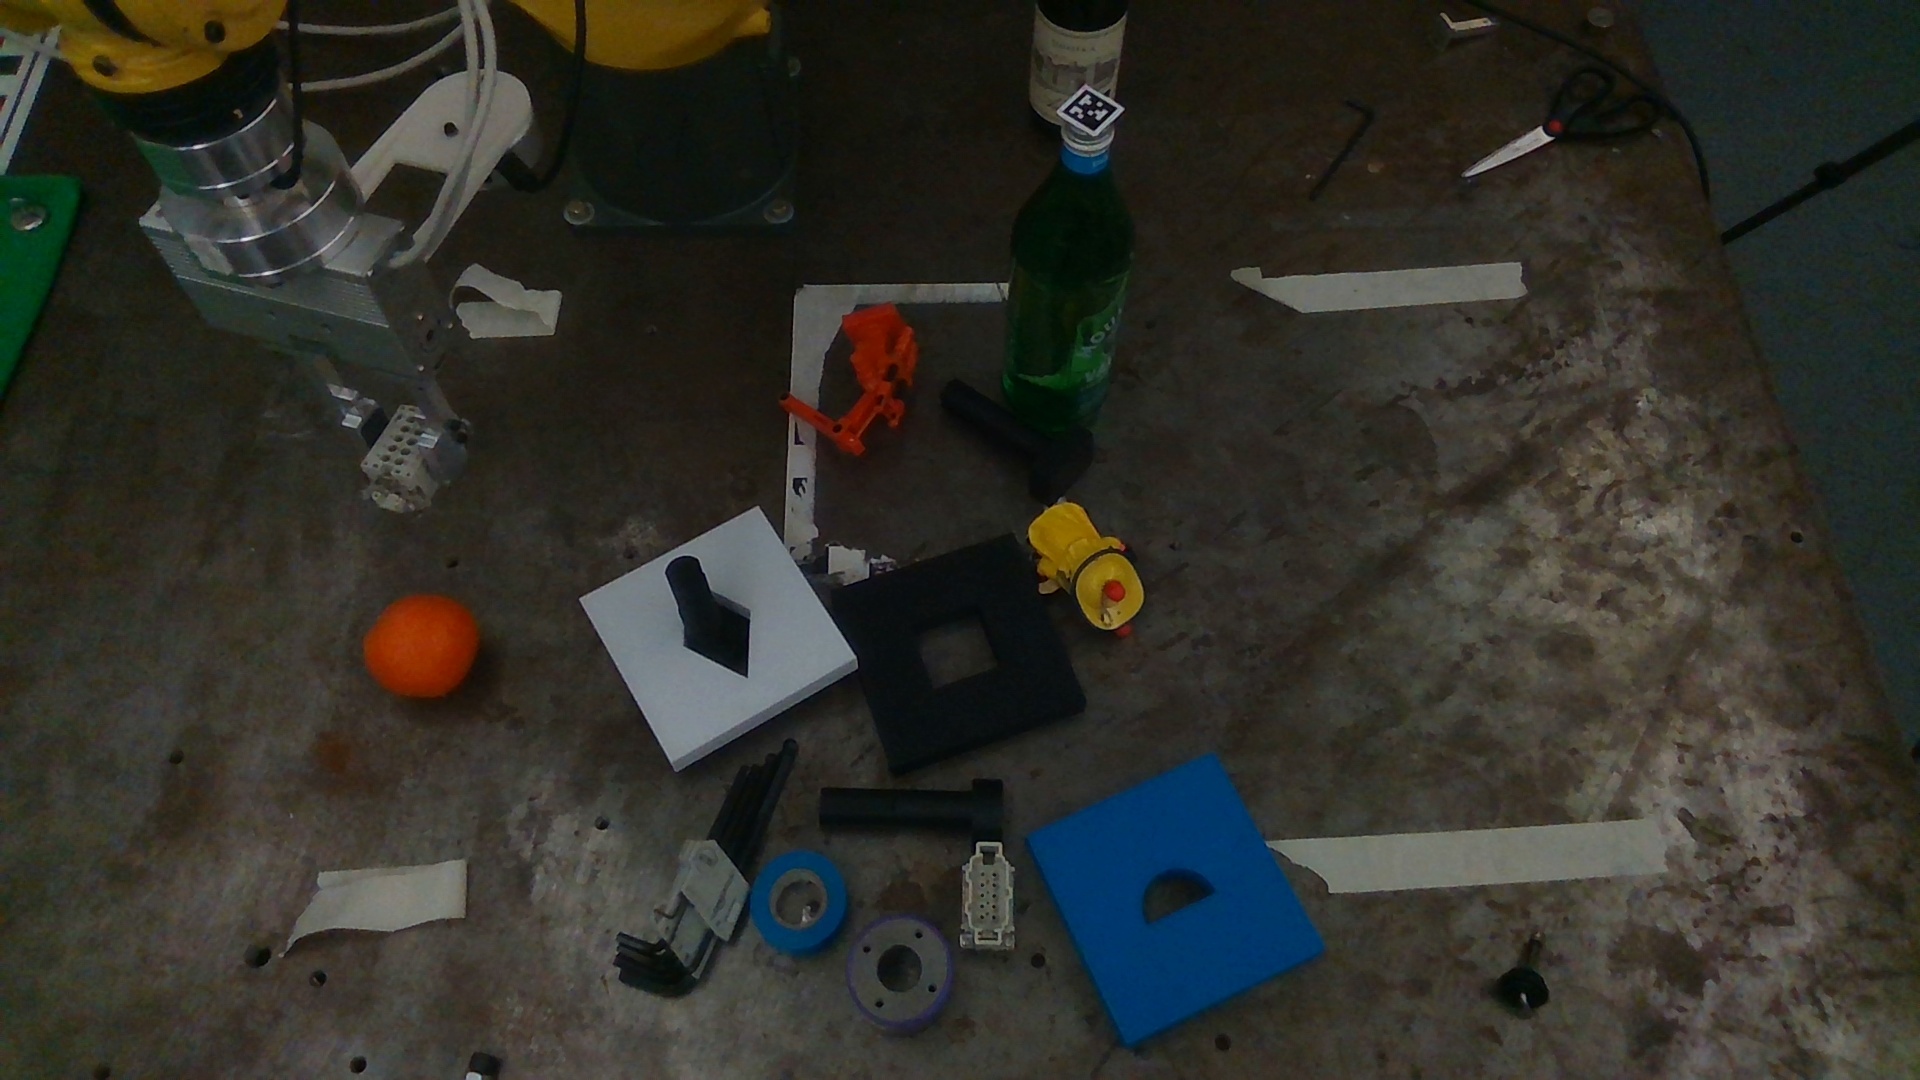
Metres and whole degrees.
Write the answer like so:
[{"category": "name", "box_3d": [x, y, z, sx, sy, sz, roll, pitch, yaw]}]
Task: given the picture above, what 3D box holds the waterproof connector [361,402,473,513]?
[{"category": "waterproof connector", "box_3d": [-0.310, -0.047, 0.797, 0.037, 0.038, 0.069, 15, 61, 15]}]
